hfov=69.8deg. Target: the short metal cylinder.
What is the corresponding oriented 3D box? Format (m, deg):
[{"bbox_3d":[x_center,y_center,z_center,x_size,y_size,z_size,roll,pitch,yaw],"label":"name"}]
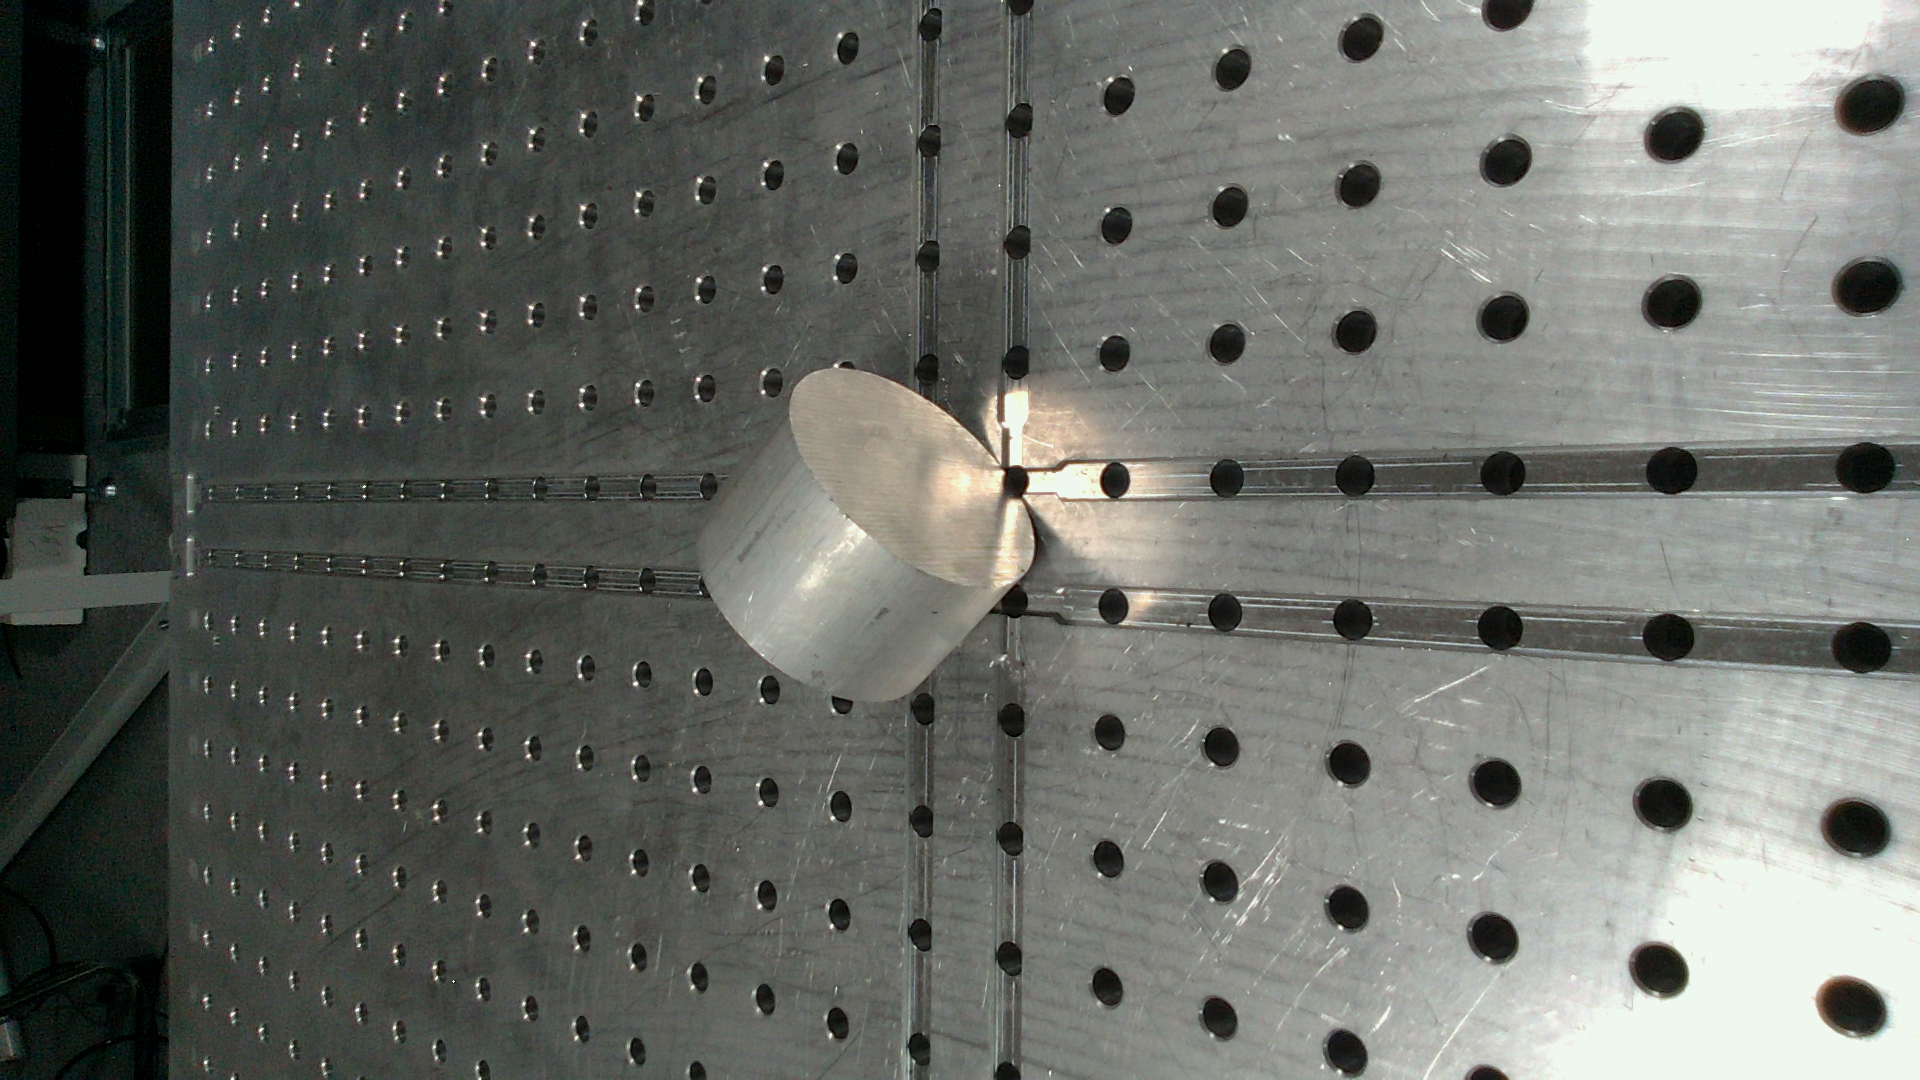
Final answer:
[{"bbox_3d":[-0.026,-0.002,0.383,0.050,0.080,0.080,-48,61,30],"label":"short metal cylinder"}]
